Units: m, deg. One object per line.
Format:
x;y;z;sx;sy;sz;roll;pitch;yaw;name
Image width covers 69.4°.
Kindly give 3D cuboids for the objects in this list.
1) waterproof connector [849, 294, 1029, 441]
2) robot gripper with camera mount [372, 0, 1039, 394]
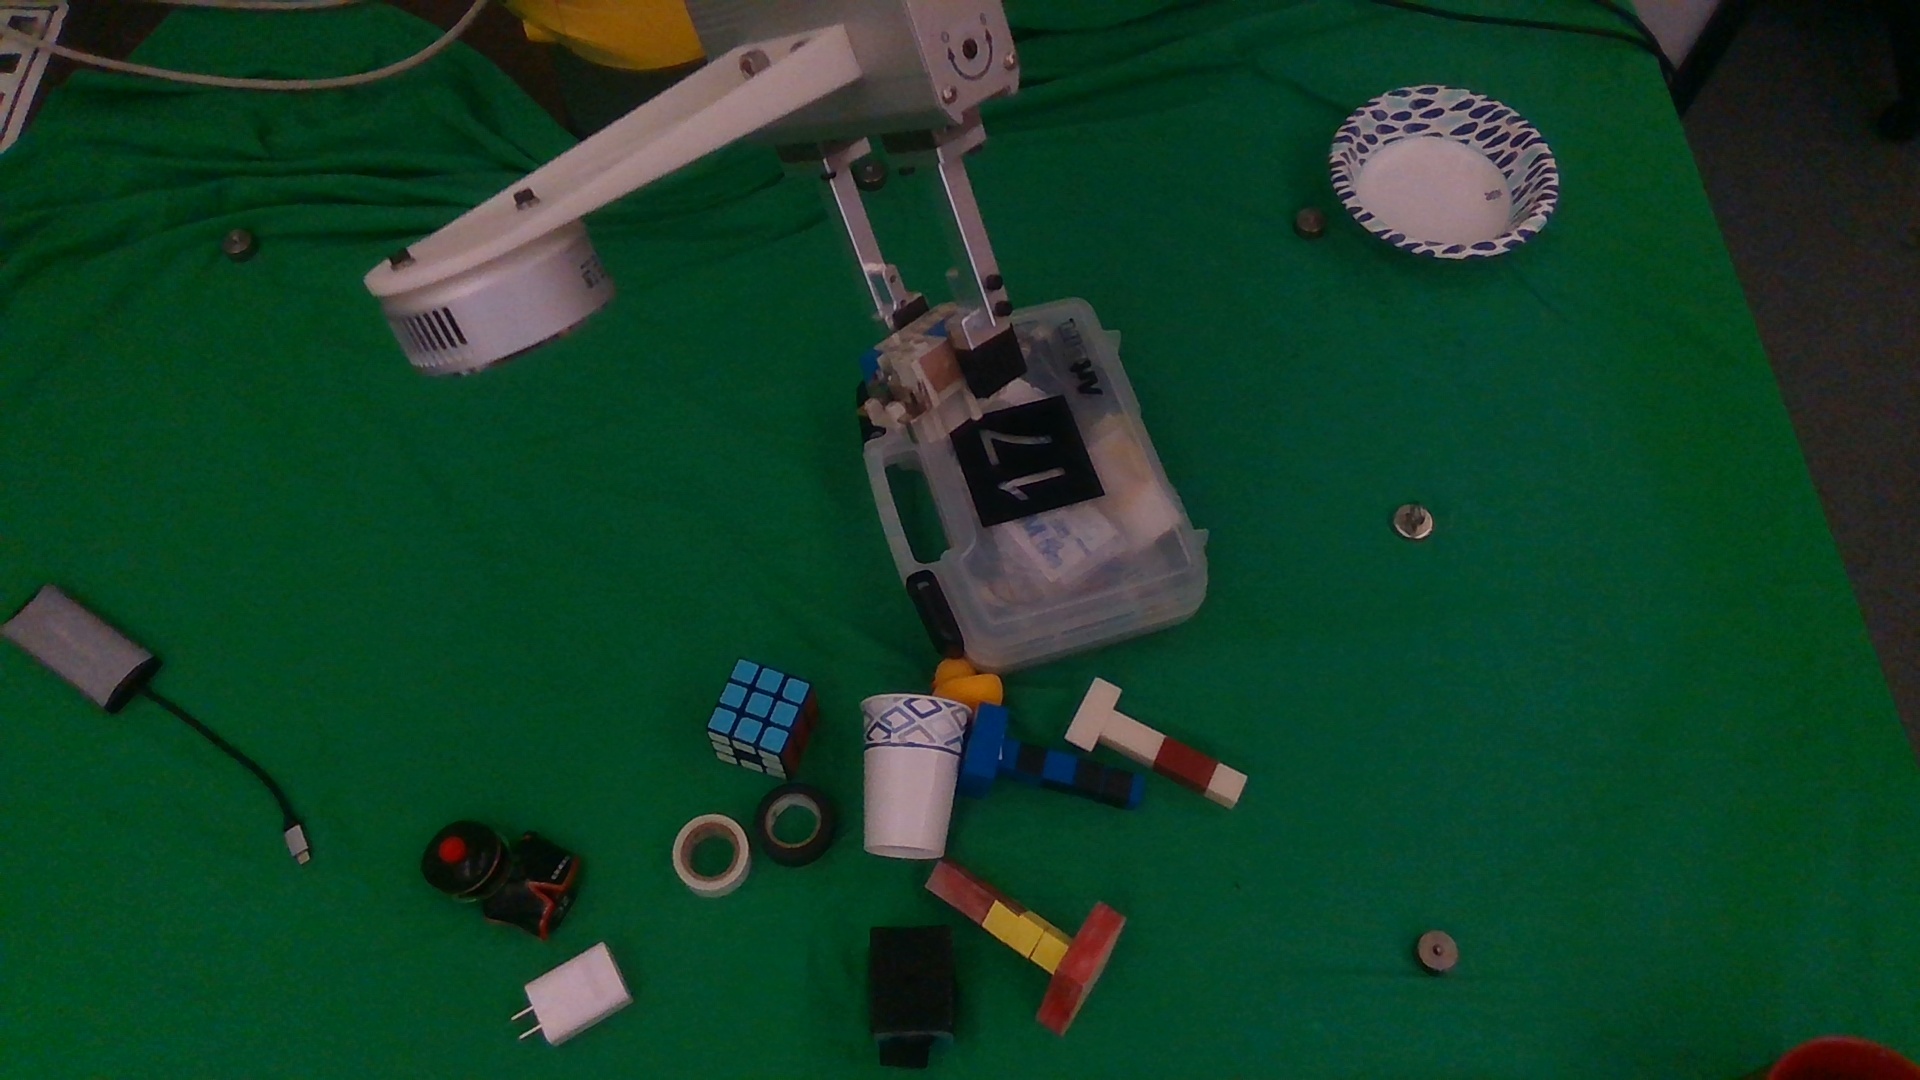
-0.008;-0.062;0.495;0.065;0.037;0.035;-35;25;-24;waterproof connector
-0.069;-0.083;0.423;0.119;0.158;0.193;2;32;48;robot gripper with camera mount
